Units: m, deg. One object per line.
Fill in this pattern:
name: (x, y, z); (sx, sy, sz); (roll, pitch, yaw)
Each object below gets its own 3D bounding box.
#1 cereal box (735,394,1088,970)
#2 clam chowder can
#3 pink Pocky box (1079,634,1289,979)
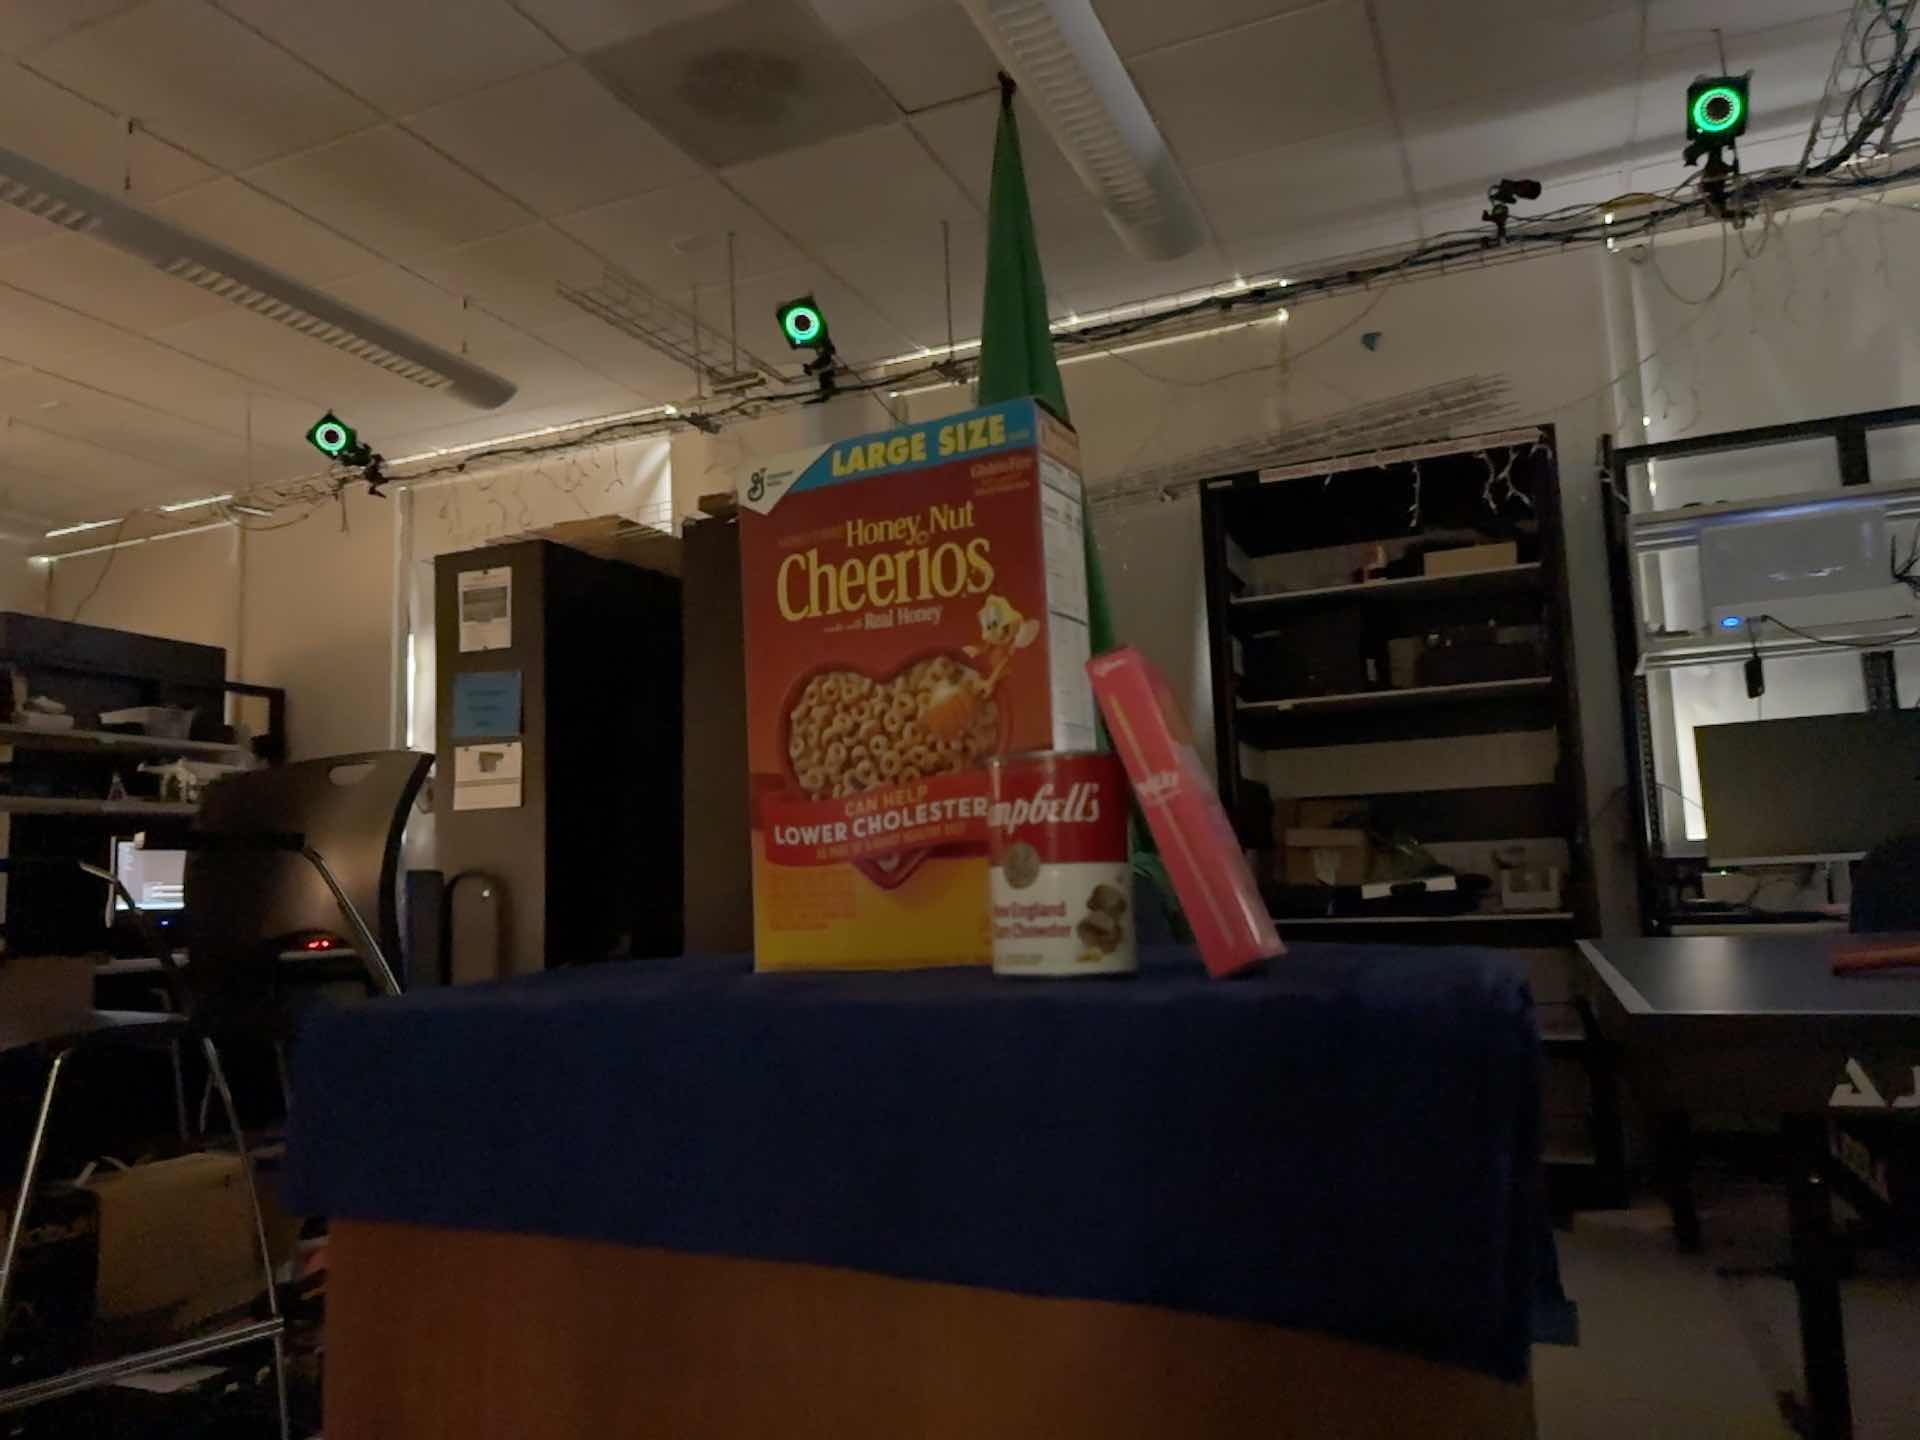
cereal box: (-0.032, -0.013, 0.772); (0.195, 0.297, 0.065); (-5, -7, 31)
clam chowder can: (0.048, 0.071, 0.634); (0.068, 0.102, 0.068); (0, -5, 0)
pink Pocky box: (0.104, 0.040, 0.620); (0.029, 0.154, 0.084); (-25, -15, 15)
